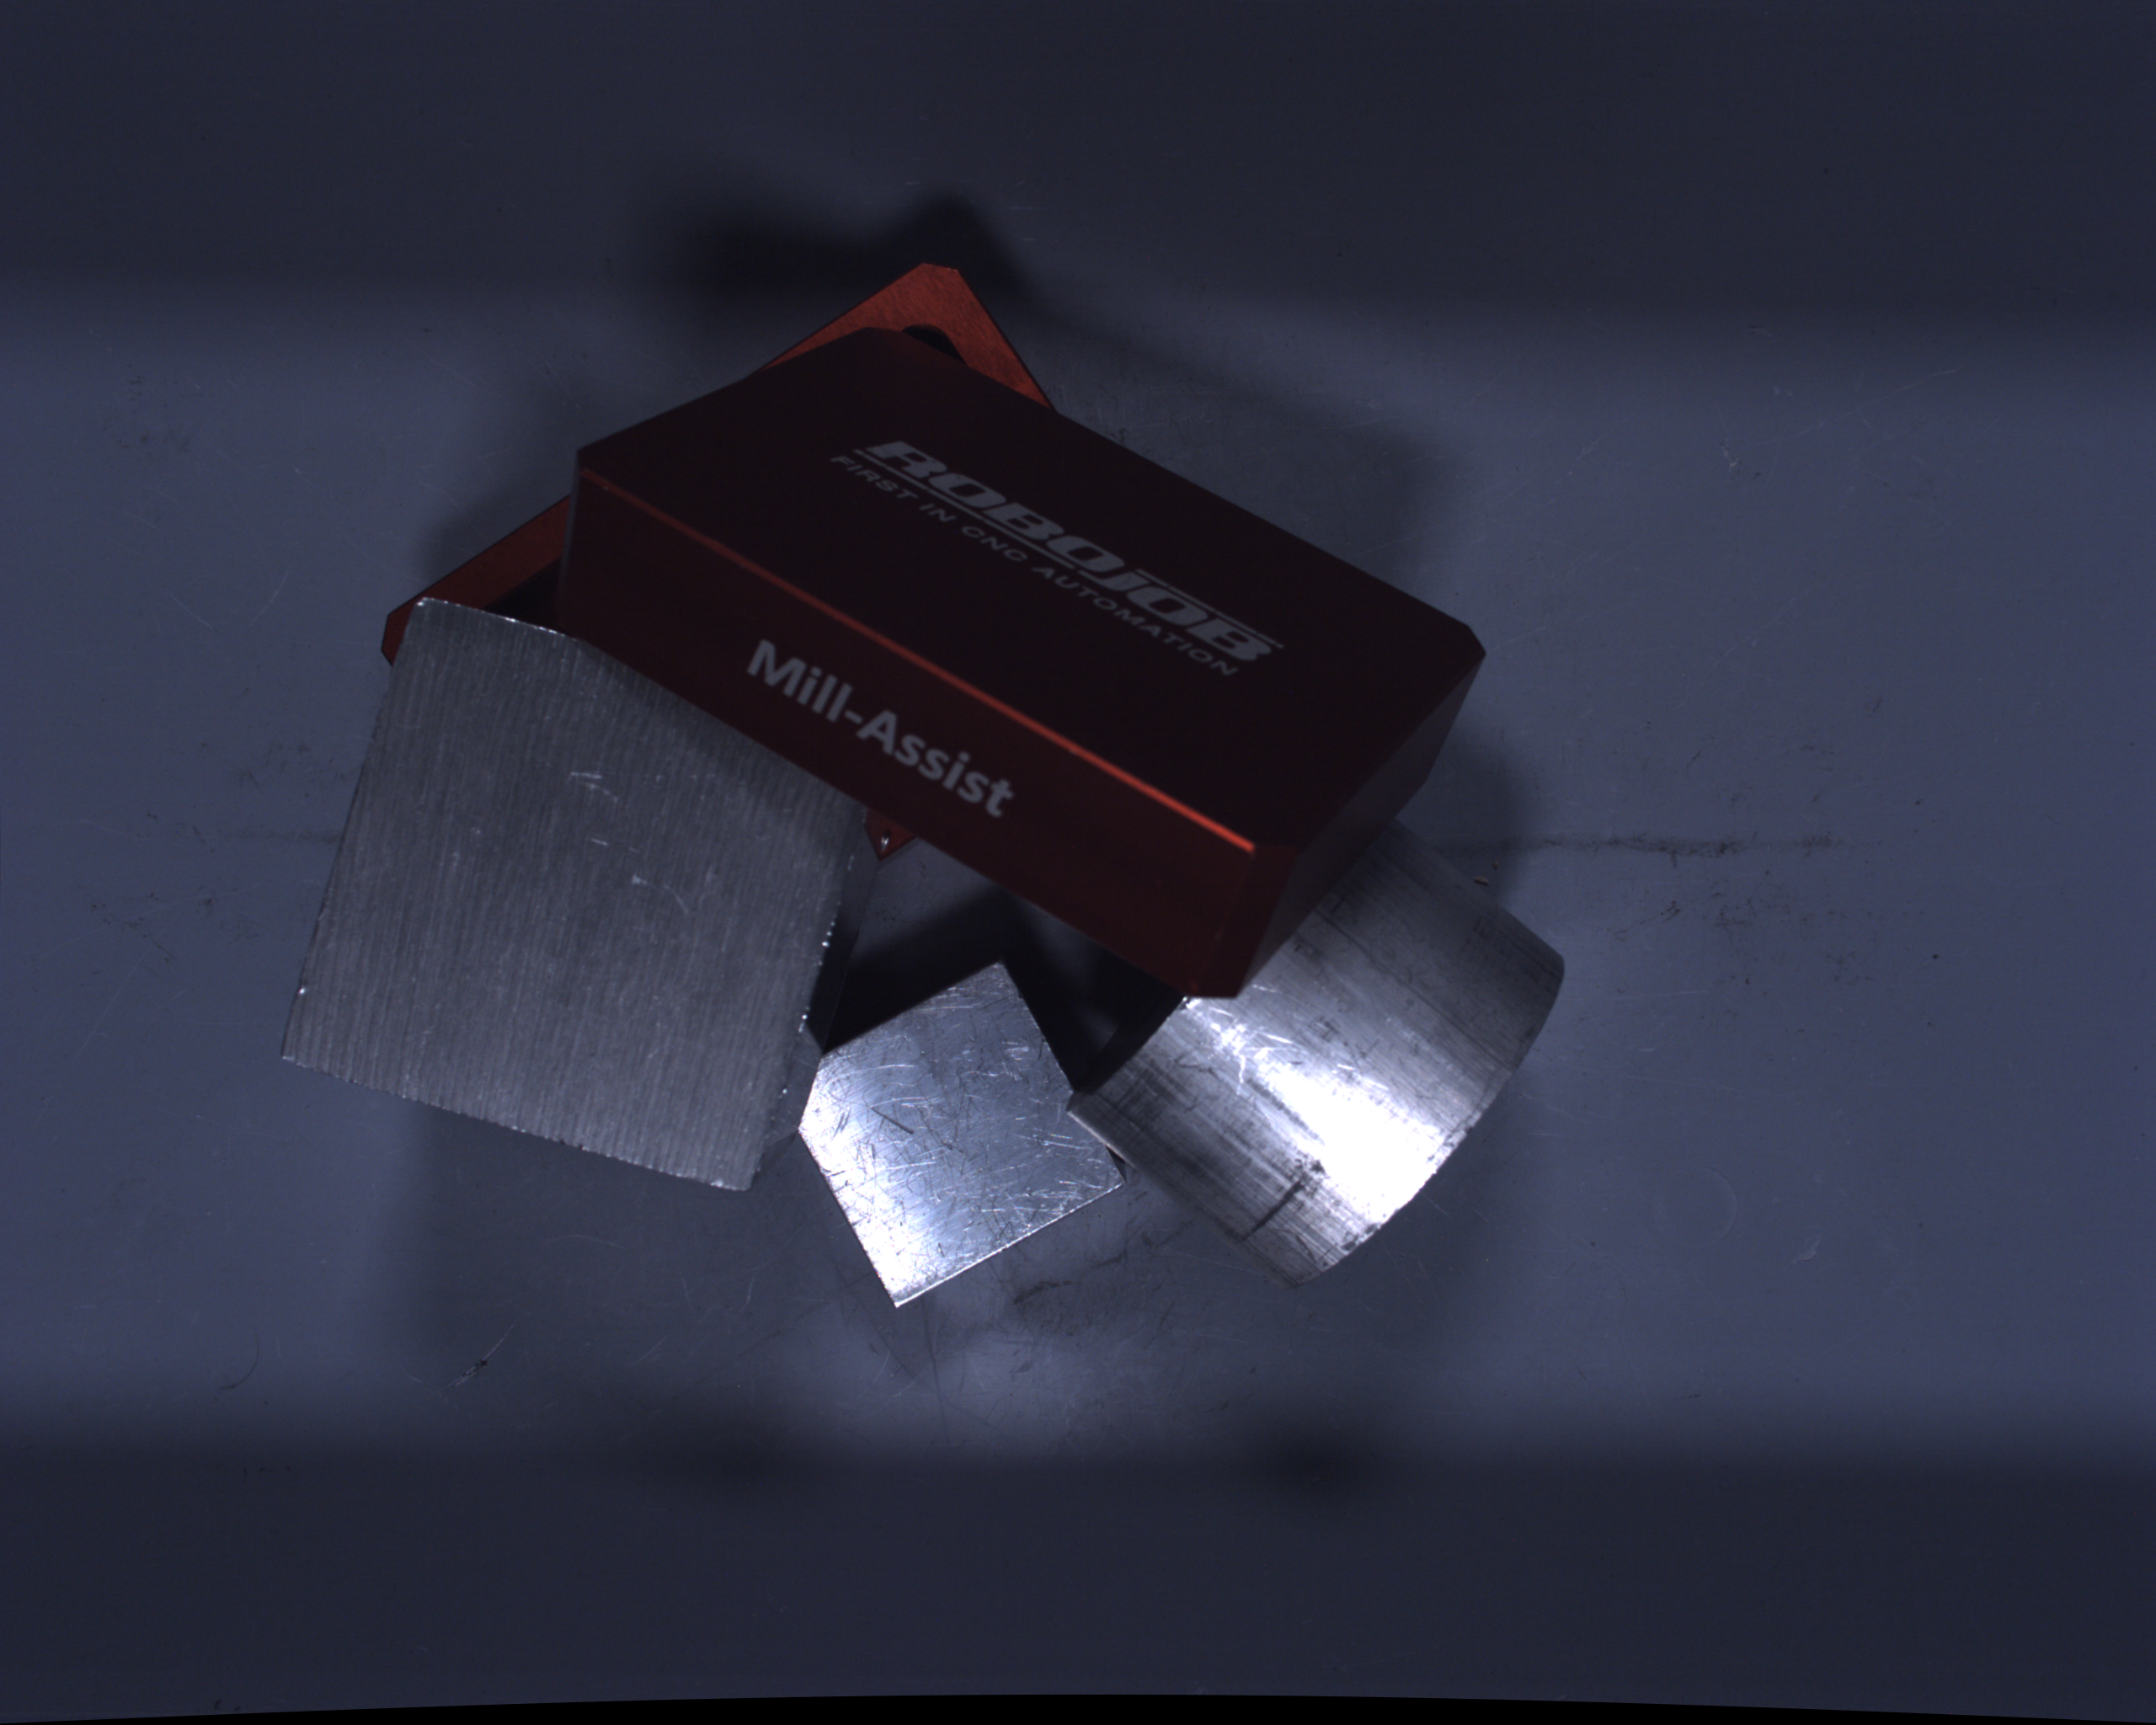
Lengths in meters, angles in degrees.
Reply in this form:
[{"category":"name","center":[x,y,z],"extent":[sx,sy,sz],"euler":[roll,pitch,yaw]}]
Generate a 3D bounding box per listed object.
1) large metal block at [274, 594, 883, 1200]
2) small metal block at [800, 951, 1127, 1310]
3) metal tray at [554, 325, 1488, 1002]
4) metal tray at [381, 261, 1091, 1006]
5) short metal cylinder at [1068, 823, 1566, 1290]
[{"category":"large metal block","center":[-0.081,0.006,0.364],"extent":[0.080,0.050,0.080],"euler":[16,90,-1]},{"category":"small metal block","center":[-0.025,0.051,0.410],"extent":[0.050,0.025,0.050],"euler":[-29,90,-1]},{"category":"metal tray","center":[-0.008,-0.039,0.348],"extent":[0.130,0.090,0.030],"euler":[30,128,14]},{"category":"metal tray","center":[-0.054,-0.043,0.406],"extent":[0.130,0.030,0.090],"euler":[-34,90,-1]},{"category":"short metal cylinder","center":[0.043,0.031,0.384],"extent":[0.050,0.080,0.080],"euler":[39,90,-1]}]
